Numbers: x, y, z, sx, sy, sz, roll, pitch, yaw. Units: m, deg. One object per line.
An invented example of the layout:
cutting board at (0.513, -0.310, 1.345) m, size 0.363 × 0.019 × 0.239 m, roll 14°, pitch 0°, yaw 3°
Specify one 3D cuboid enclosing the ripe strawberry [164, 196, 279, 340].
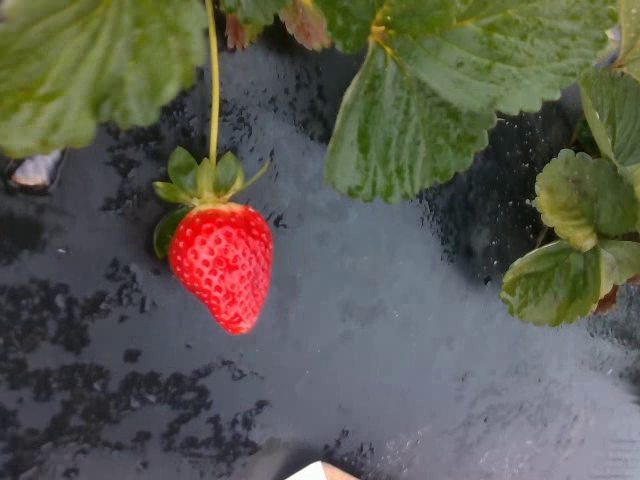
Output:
ripe strawberry at (-0.034, 0.011, 0.231) m, size 0.045 × 0.054 × 0.048 m, roll -5°, pitch -5°, yaw -14°
